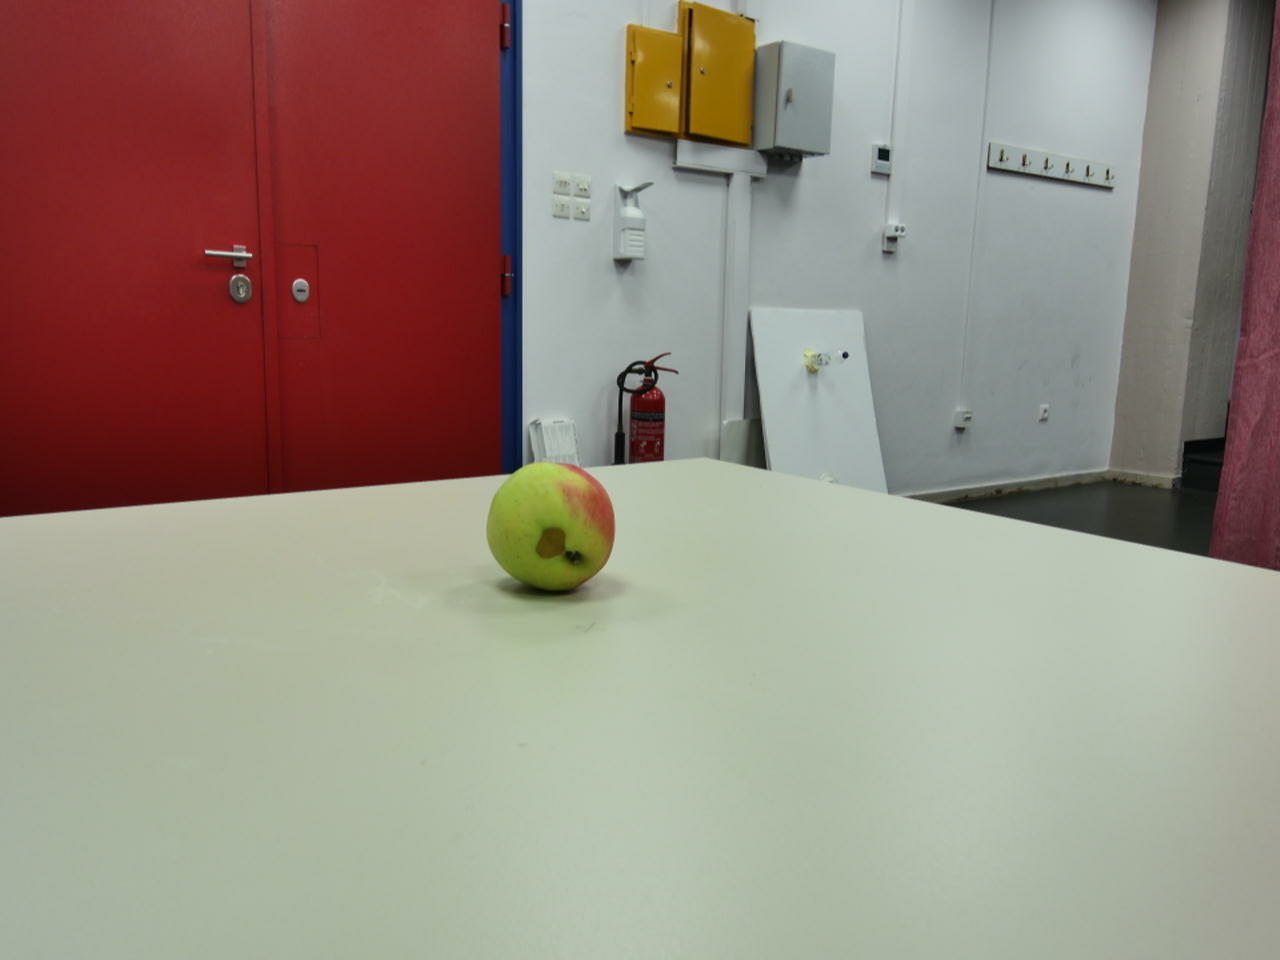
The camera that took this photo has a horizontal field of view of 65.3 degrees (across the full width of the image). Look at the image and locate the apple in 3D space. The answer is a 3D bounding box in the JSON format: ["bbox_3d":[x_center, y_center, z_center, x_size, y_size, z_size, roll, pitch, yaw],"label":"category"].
[{"bbox_3d":[-0.051,0.027,0.589,0.075,0.074,0.075,6,9,34],"label":"apple"}]
